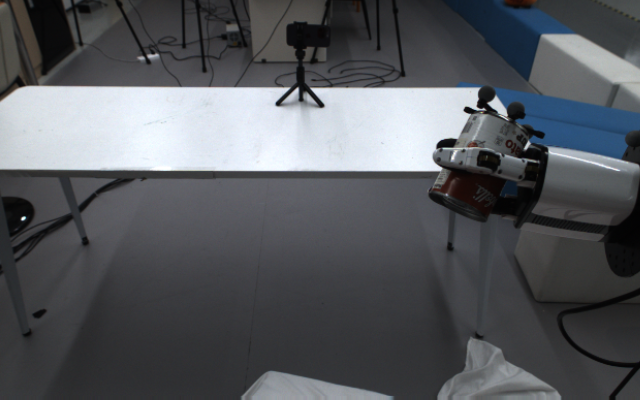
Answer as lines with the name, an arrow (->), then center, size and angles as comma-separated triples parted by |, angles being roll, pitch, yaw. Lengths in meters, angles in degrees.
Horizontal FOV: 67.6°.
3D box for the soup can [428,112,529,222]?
soup can -> 0.173, -0.036, 0.521 | 0.067, 0.101, 0.067 | 28, -3, 1
